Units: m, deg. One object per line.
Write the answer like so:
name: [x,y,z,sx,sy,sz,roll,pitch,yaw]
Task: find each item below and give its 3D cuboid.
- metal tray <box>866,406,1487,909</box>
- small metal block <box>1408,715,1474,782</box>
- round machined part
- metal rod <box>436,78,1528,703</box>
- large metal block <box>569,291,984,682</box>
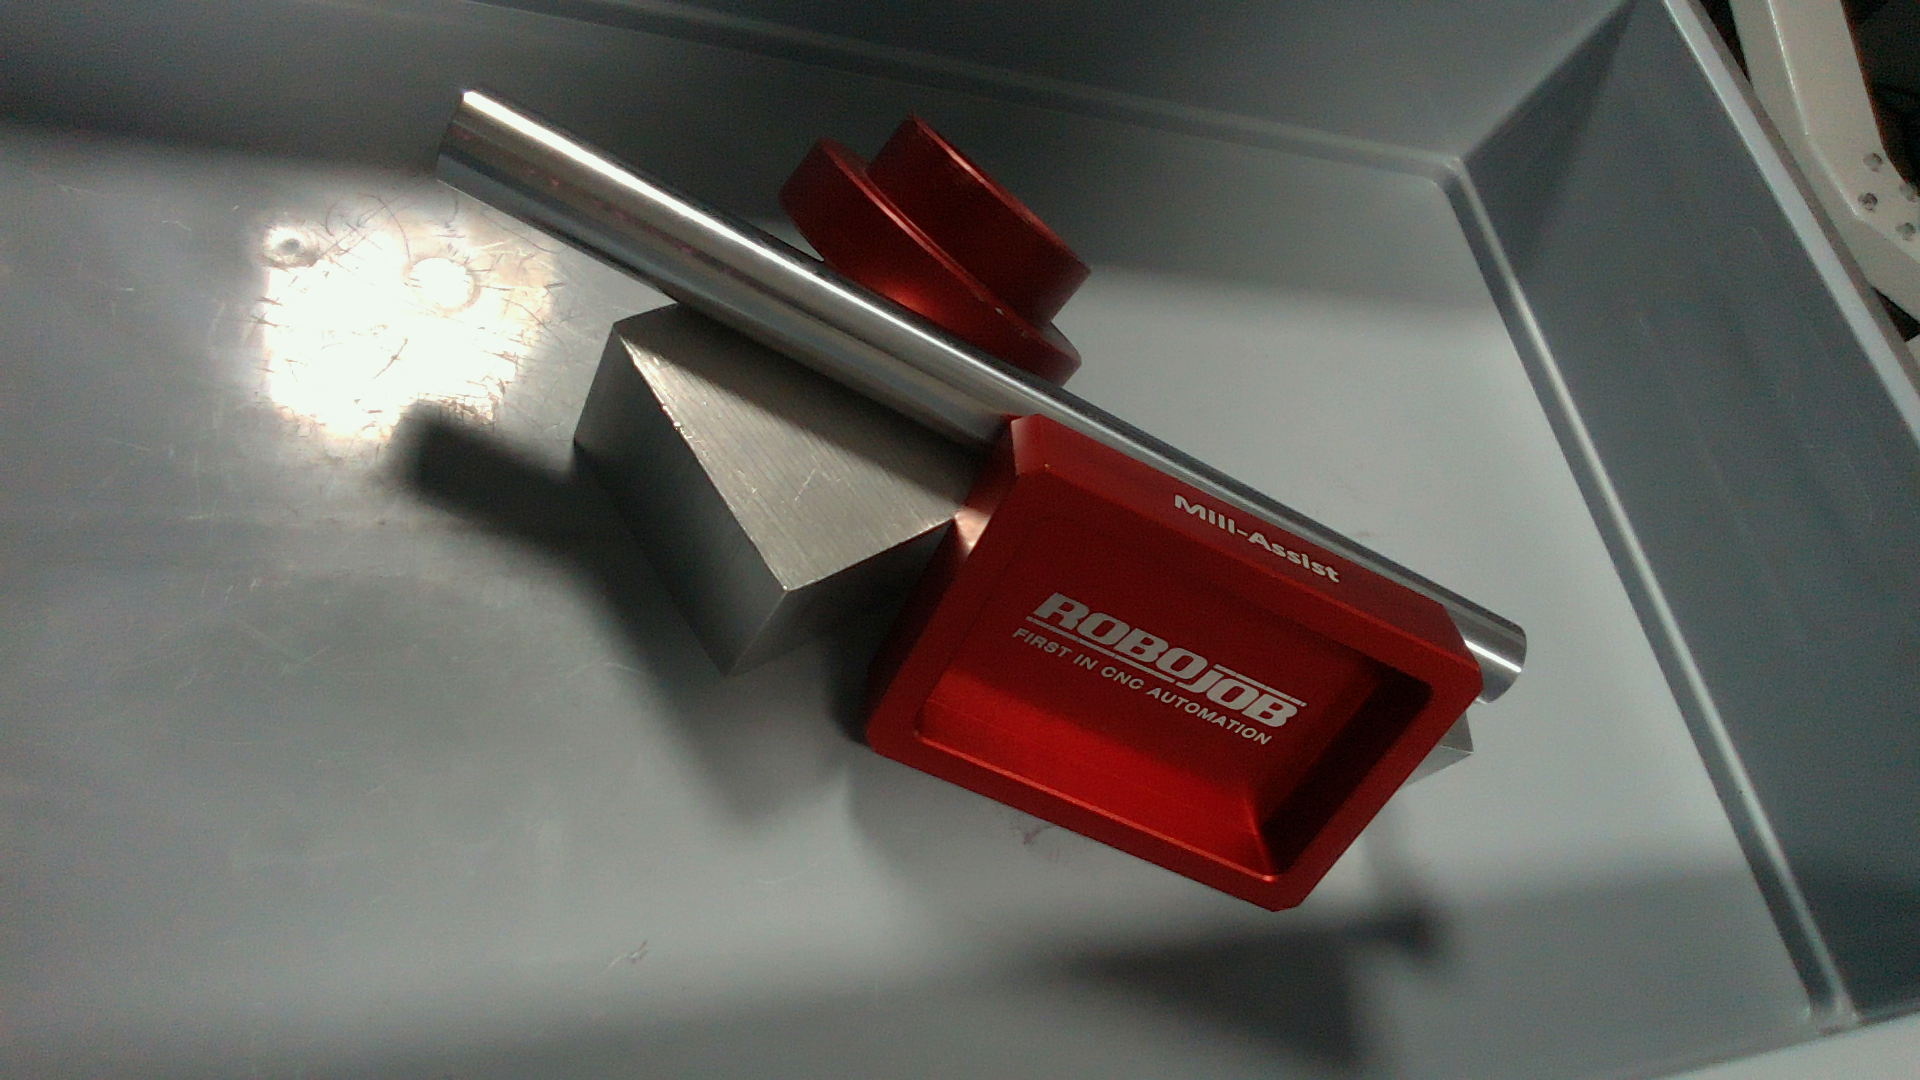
metal tray: [0.053,0.034,0.350,0.130,0.090,0.030,24,25,-14]
small metal block: [0.121,0.046,0.409,0.025,0.050,0.050,14,56,-20]
round machined part: [-0.001,-0.084,0.395,0.098,0.042,0.098,39,13,-10]
metal rod: [0.016,-0.031,0.350,0.300,0.025,0.025,26,52,-12]
large metal block: [-0.043,-0.022,0.362,0.080,0.050,0.080,-25,75,-37]
